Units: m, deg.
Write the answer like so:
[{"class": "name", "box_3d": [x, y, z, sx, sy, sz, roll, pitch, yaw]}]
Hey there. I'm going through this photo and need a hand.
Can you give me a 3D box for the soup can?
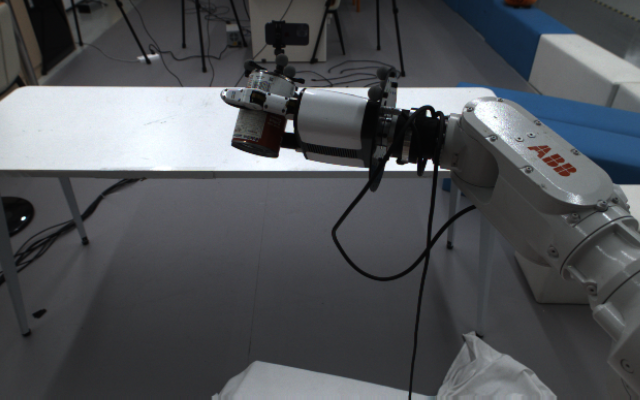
[{"class": "soup can", "box_3d": [-0.076, -0.115, 0.657, 0.067, 0.101, 0.067, 13, -6, 1]}]
